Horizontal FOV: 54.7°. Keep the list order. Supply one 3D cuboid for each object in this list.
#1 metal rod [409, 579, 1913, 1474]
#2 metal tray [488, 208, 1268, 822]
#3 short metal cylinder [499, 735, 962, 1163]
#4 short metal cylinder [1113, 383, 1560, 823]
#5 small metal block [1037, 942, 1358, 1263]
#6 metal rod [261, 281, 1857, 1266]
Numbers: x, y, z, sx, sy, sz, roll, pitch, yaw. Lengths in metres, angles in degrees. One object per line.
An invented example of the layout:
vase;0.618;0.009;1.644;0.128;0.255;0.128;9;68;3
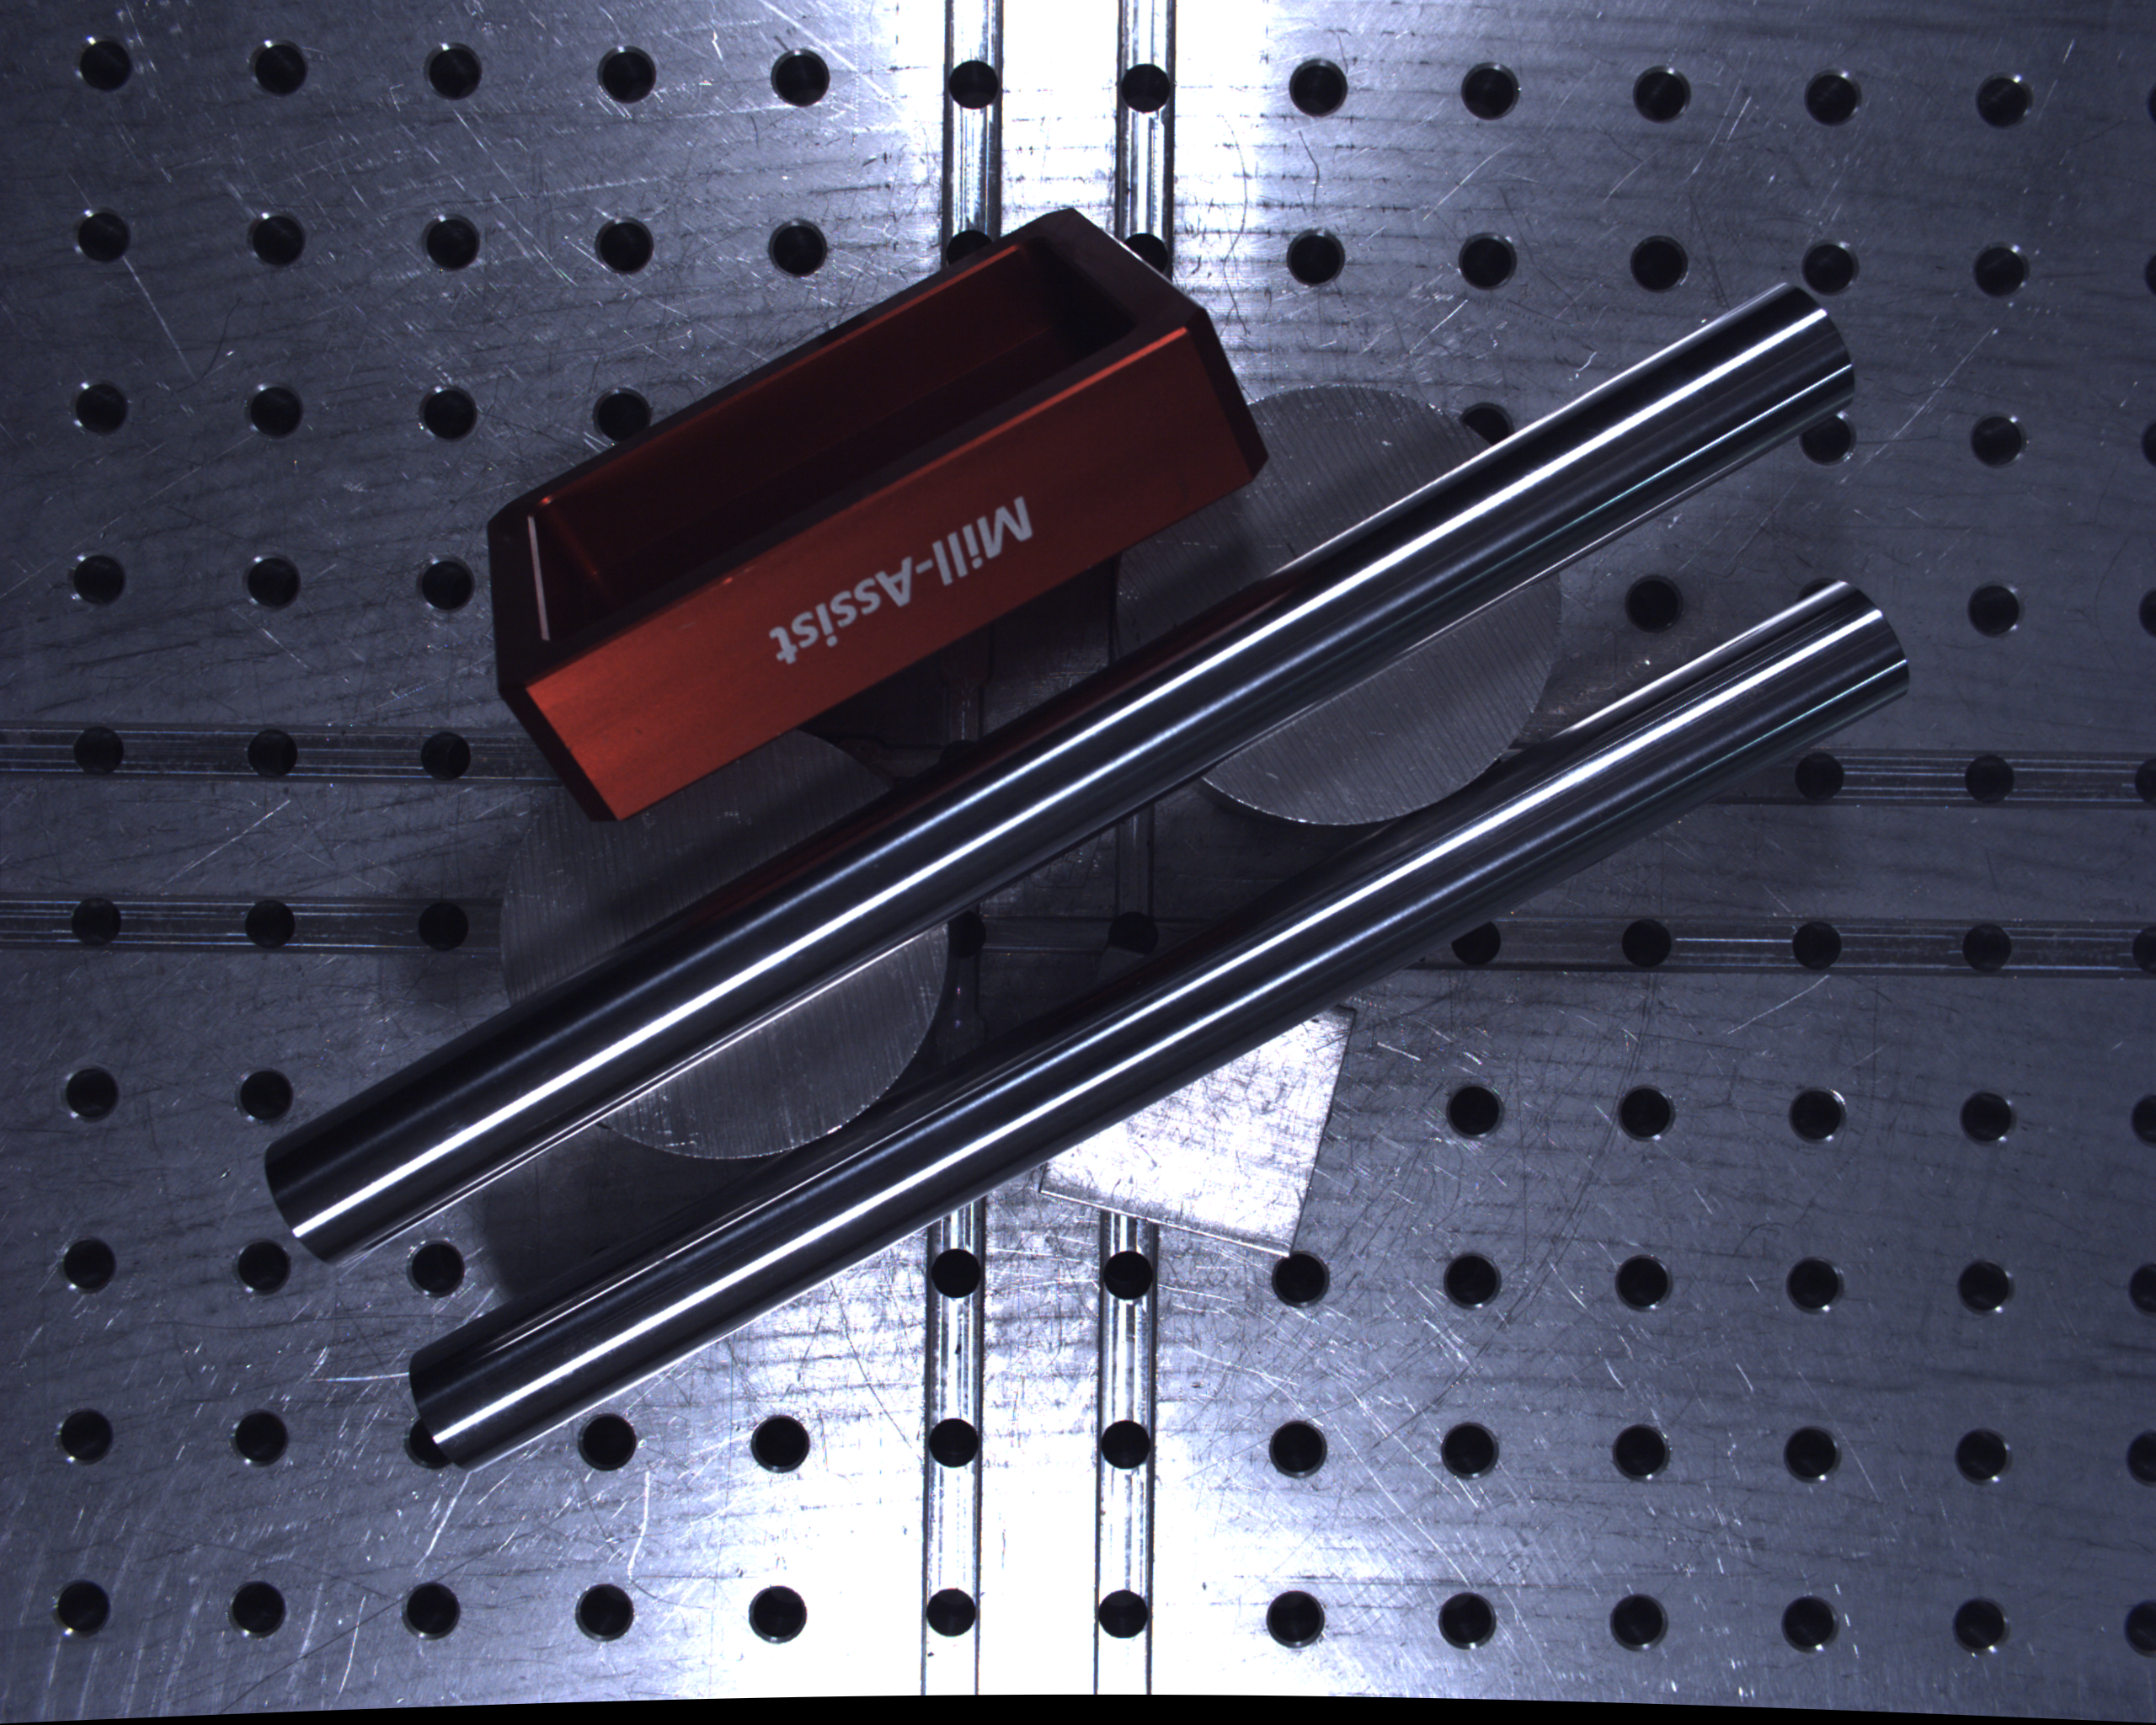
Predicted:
metal rod;0.016;0.030;0.387;0.301;0.025;0.025;-29;90;-1
metal tray;-0.041;-0.067;0.379;0.130;0.090;0.030;-29;122;-1
short metal cylinder;-0.064;0.014;0.400;0.081;0.050;0.079;0;90;-1
short metal cylinder;0.047;-0.047;0.402;0.081;0.050;0.079;0;90;-1
small metal block;0.023;0.046;0.413;0.050;0.025;0.050;15;90;-1
metal rod;-0.003;-0.016;0.362;0.301;0.025;0.025;-30;90;-1
